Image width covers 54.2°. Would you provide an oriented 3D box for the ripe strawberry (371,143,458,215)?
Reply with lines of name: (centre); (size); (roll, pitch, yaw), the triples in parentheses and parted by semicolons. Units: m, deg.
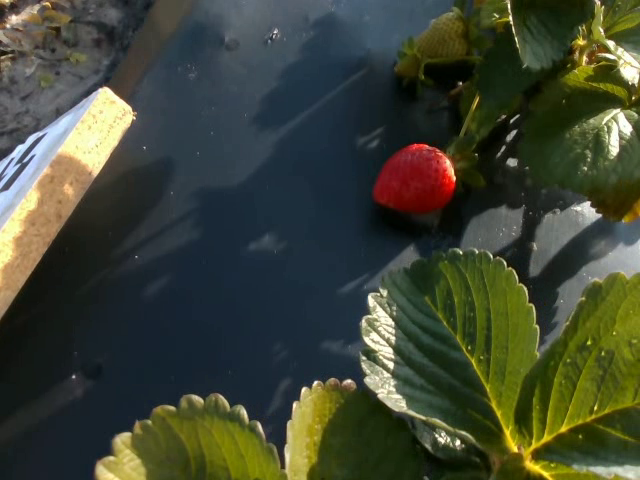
ripe strawberry: (0.037, -0.022, 0.254); (0.044, 0.033, 0.030); (-22, 23, -15)
